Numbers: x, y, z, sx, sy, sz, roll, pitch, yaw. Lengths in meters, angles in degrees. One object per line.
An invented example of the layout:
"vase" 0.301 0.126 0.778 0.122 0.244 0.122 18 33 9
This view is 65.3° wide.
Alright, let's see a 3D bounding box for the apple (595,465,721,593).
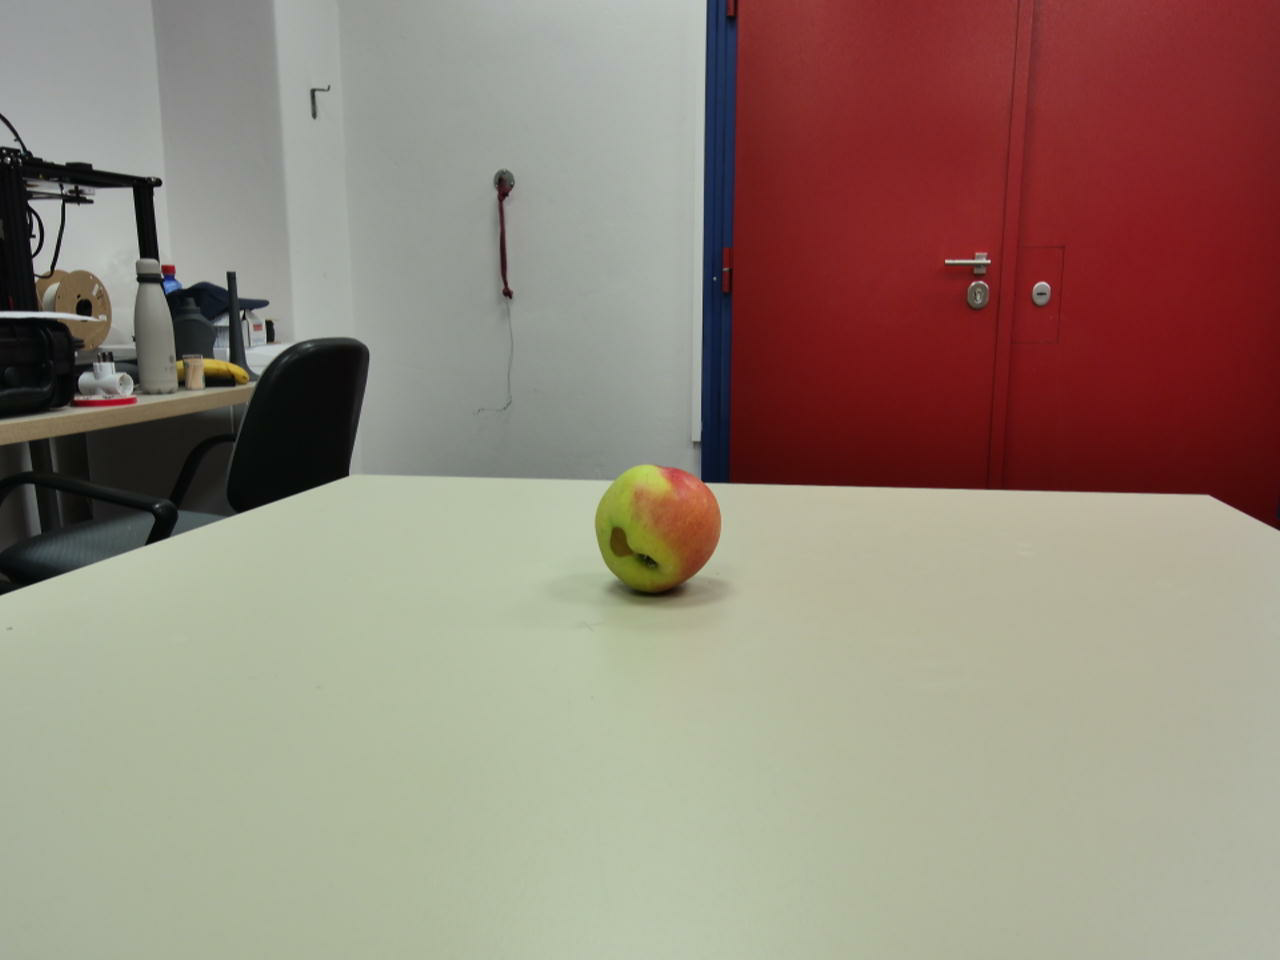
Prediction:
"apple" 0.011 0.029 0.596 0.075 0.074 0.075 0 7 -8
